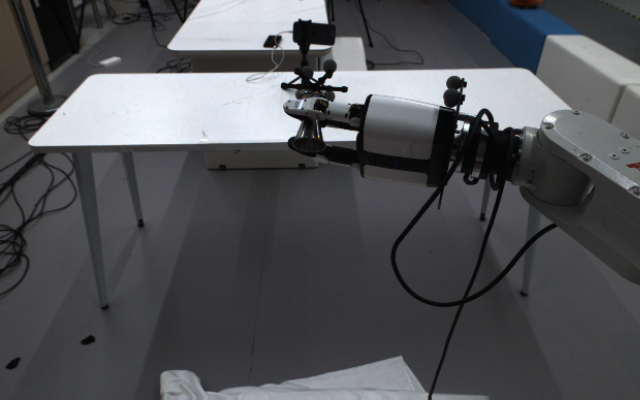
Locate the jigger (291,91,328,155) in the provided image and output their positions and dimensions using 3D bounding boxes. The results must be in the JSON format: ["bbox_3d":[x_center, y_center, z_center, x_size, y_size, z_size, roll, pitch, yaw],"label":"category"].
[{"bbox_3d":[-0.013,-0.102,0.629,0.043,0.043,0.071,4,71,2],"label":"jigger"}]
